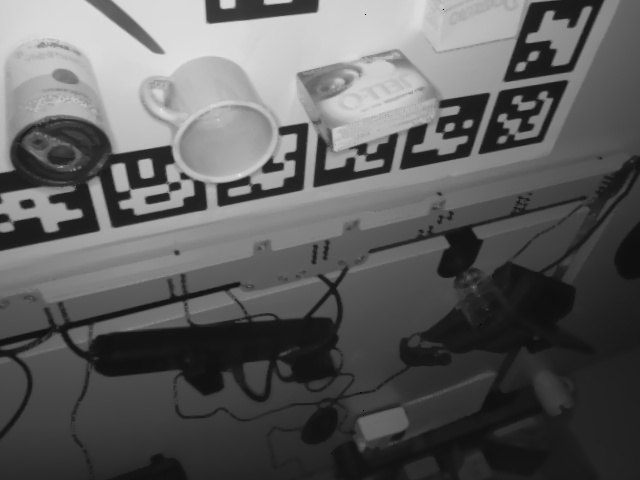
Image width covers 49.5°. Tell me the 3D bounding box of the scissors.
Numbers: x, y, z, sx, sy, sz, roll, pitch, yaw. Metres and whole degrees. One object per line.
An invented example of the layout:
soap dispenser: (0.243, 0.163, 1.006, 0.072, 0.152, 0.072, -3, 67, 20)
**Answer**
scissors: (-0.174, -0.180, 0.529, 0.087, 0.016, 0.204, -46, 138, 9)

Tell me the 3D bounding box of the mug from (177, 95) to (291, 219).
mug: (-0.090, -0.085, 0.638, 0.093, 0.081, 0.118, -36, 143, 9)

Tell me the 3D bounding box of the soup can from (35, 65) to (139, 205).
soup can: (-0.194, -0.088, 0.570, 0.068, 0.102, 0.067, -17, 143, -12)

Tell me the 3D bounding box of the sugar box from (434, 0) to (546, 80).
sugar box: (0.168, -0.239, 0.647, 0.094, 0.045, 0.174, -15, 140, -17)

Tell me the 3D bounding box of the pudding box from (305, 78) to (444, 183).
pudding box: (0.053, -0.109, 0.682, 0.115, 0.090, 0.038, -17, 135, -11)
